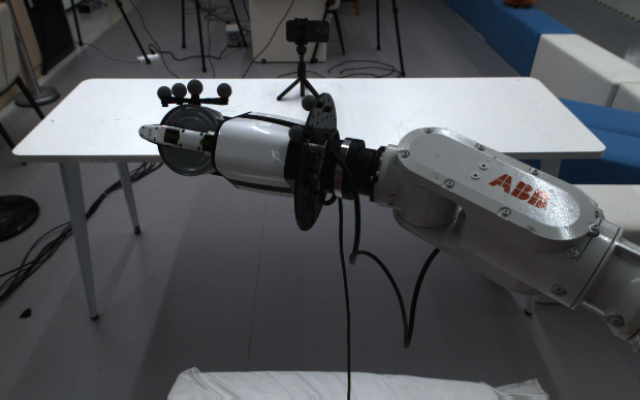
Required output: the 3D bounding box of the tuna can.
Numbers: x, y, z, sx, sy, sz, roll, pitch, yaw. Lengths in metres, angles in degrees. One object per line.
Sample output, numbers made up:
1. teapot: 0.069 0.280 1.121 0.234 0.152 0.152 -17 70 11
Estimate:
1. tuna can: -0.150 -0.071 0.591 0.085 0.085 0.034 11 7 13
